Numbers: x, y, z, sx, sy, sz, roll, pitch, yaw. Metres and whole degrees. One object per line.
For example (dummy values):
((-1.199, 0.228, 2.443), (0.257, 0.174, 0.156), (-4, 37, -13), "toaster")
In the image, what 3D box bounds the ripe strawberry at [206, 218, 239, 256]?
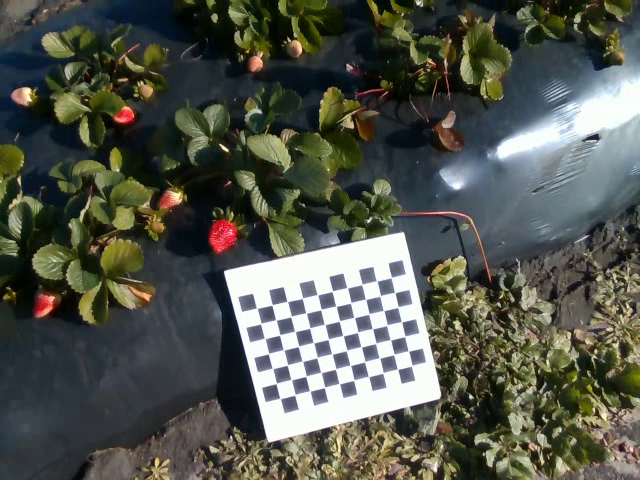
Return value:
((-0.143, -0.003, 0.951), (0.066, 0.058, 0.061), (31, 24, -11), "ripe strawberry")
